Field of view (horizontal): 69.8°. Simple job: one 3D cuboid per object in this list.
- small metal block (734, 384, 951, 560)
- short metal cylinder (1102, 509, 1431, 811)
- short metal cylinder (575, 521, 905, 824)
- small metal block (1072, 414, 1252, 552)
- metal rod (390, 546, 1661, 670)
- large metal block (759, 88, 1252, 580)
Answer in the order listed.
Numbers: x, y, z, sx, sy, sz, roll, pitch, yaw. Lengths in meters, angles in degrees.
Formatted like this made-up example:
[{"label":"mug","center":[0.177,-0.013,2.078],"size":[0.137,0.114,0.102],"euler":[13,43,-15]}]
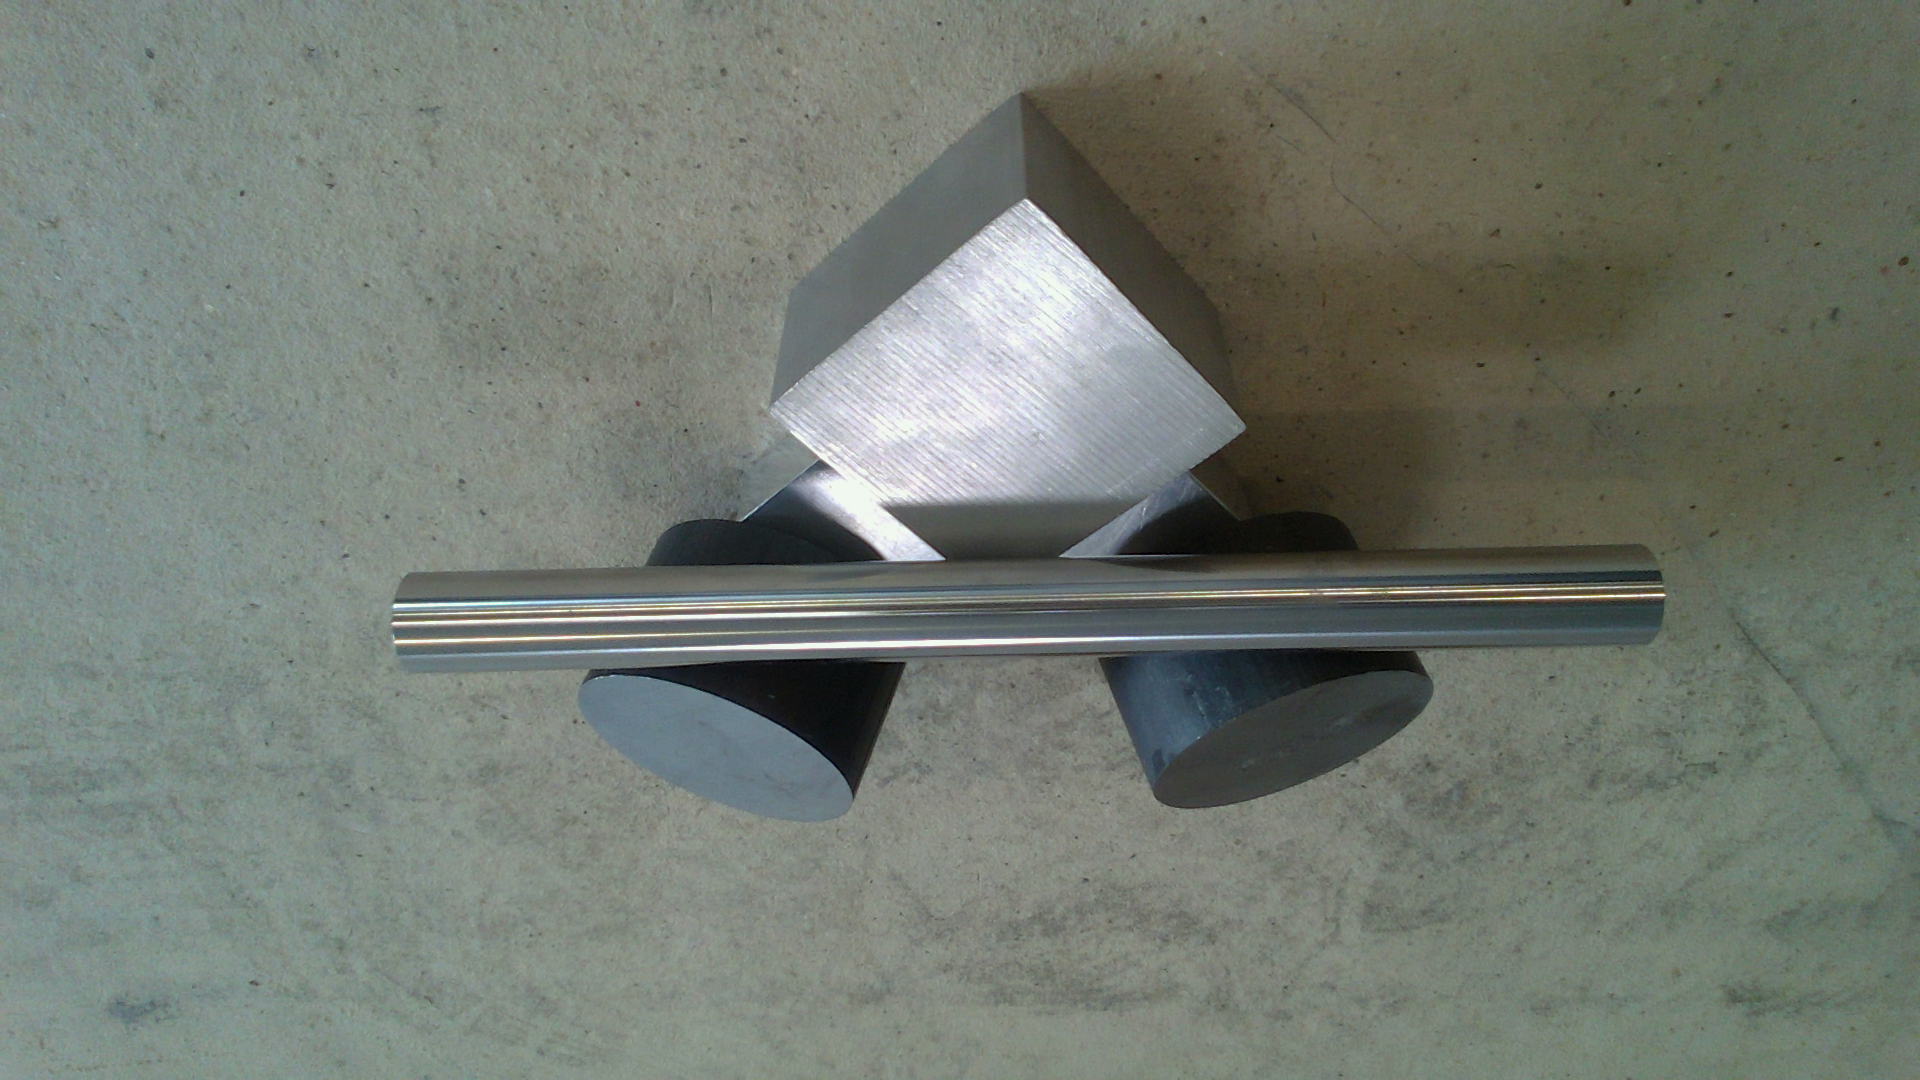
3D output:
[{"label":"small metal block","center":[-0.026,-0.011,0.381],"size":[0.050,0.025,0.050],"euler":[-37,121,25]},{"label":"short metal cylinder","center":[0.083,0.035,0.386],"size":[0.080,0.050,0.080],"euler":[-15,150,-9]},{"label":"short metal cylinder","center":[-0.060,0.039,0.388],"size":[0.080,0.050,0.080],"euler":[15,149,10]},{"label":"small metal block","center":[0.046,-0.010,0.383],"size":[0.050,0.025,0.050],"euler":[-36,122,26]},{"label":"metal rod","center":[0.015,0.017,0.337],"size":[0.300,0.025,0.025],"euler":[-1,130,1]},{"label":"large metal block","center":[0.011,-0.045,0.334],"size":[0.080,0.050,0.080],"euler":[-35,122,26]}]
